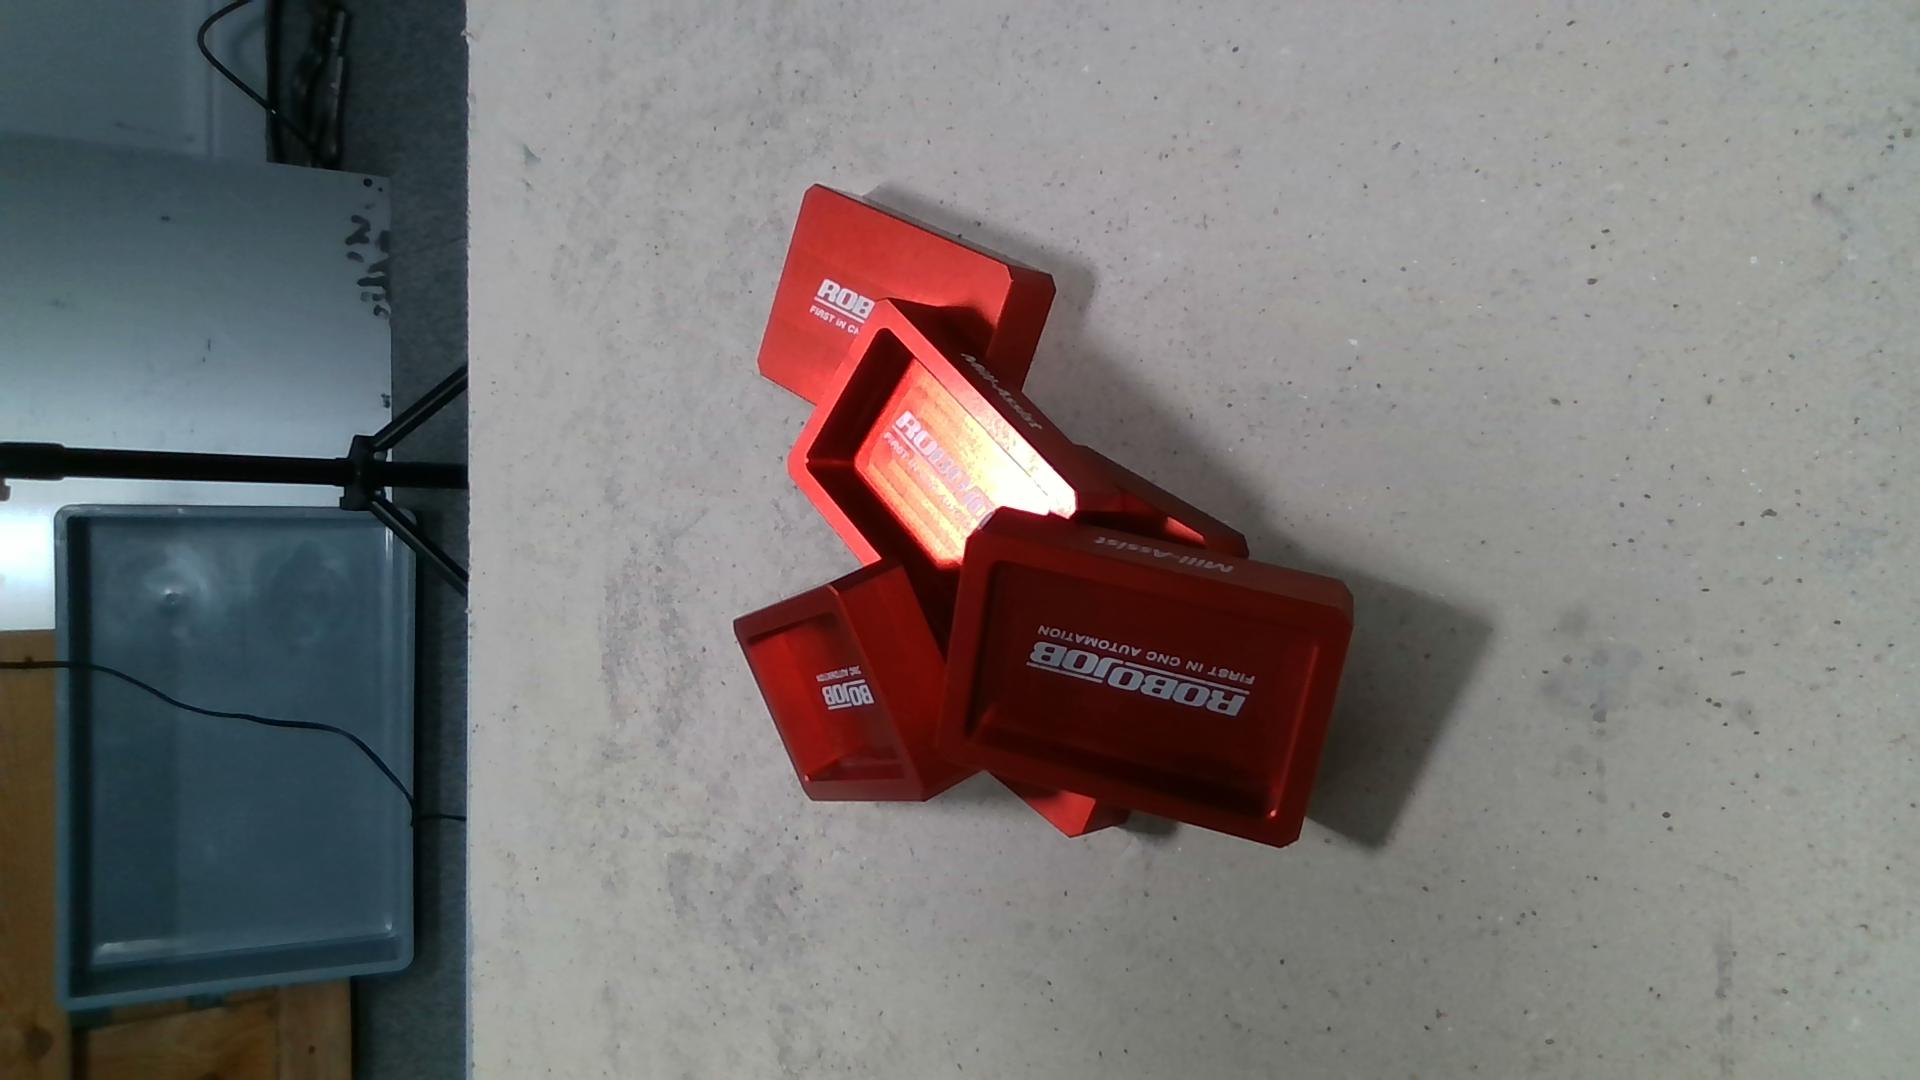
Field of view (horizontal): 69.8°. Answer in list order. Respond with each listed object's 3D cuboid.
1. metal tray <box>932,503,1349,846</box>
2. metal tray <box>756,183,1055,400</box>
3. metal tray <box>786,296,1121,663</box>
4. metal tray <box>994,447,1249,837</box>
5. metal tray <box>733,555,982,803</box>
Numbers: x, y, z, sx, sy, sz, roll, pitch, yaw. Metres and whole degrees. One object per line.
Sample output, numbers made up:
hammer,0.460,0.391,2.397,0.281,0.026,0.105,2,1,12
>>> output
metal tray,0.061,0.046,0.483,0.130,0.030,0.090,13,111,12
metal tray,-0.028,-0.093,0.601,0.130,0.030,0.090,31,110,36
metal tray,-0.007,-0.023,0.545,0.130,0.030,0.090,49,119,29
metal tray,0.046,0.037,0.540,0.090,0.030,0.130,34,111,35
metal tray,-0.047,0.062,0.575,0.130,0.030,0.090,-20,94,62
